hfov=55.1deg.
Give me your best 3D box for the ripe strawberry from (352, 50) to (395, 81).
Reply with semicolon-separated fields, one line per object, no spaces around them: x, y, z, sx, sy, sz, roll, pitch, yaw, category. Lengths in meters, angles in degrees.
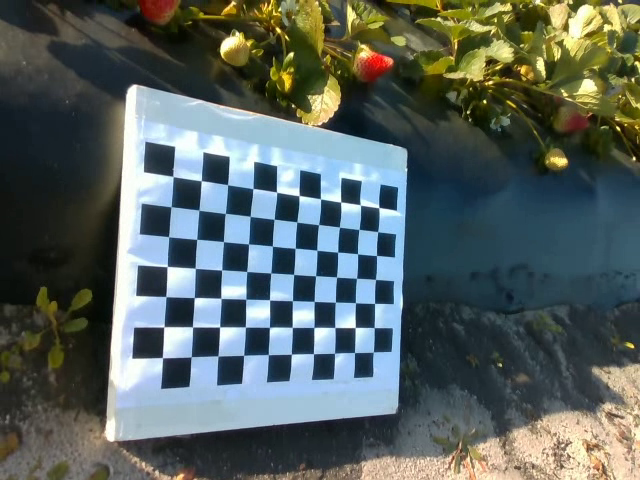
0.050;-0.162;0.571;0.045;0.037;0.042;-8;7;28;ripe strawberry
